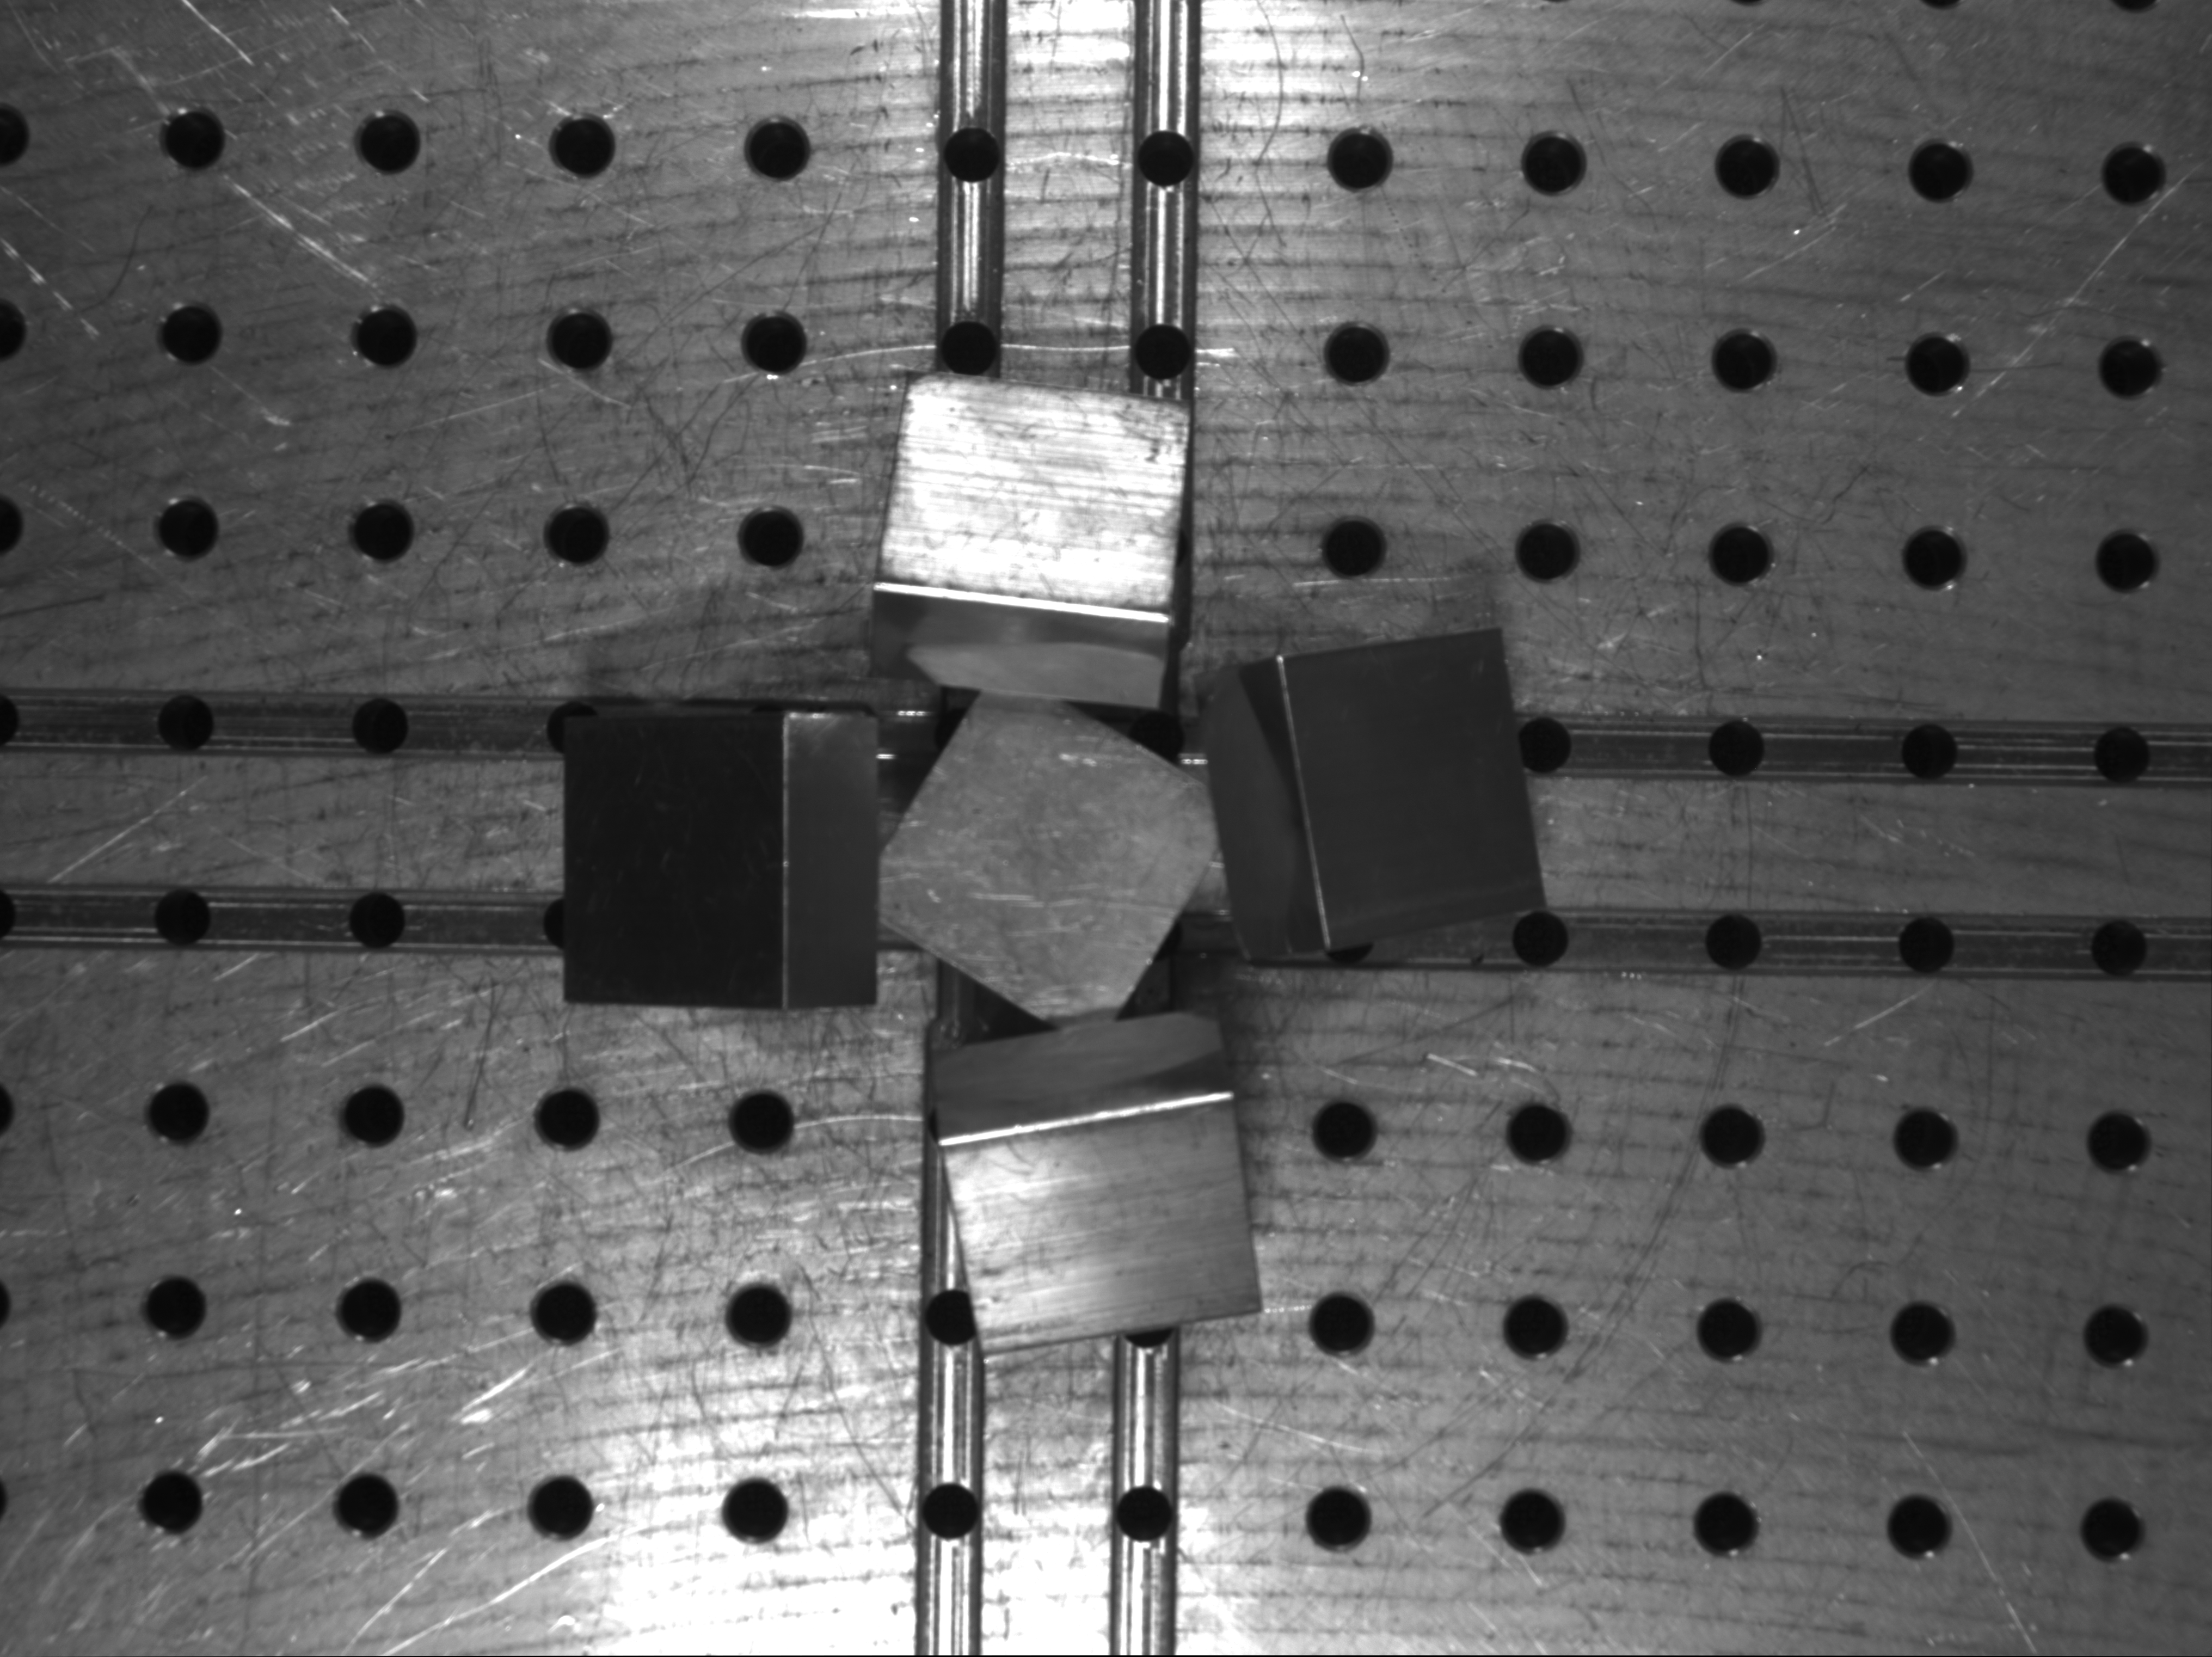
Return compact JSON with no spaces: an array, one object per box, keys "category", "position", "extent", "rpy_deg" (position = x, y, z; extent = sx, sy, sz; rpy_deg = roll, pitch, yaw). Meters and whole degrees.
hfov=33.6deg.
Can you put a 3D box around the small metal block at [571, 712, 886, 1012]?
[{"category":"small metal block","position":[-0.066,0.006,0.635],"extent":[0.050,0.025,0.050],"rpy_deg":[0,90,34]}]

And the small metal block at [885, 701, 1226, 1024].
[{"category":"small metal block","position":[-0.009,0.005,0.647],"extent":[0.050,0.025,0.050],"rpy_deg":[31,90,0]}]

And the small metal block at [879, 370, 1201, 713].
[{"category":"small metal block","position":[-0.011,-0.050,0.635],"extent":[0.050,0.025,0.050],"rpy_deg":[6,54,0]}]

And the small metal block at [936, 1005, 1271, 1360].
[{"category":"small metal block","position":[0.000,0.062,0.635],"extent":[0.050,0.025,0.050],"rpy_deg":[-9,126,0]}]

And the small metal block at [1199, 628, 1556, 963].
[{"category":"small metal block","position":[0.047,-0.006,0.636],"extent":[0.050,0.025,0.050],"rpy_deg":[-9,90,-35]}]
